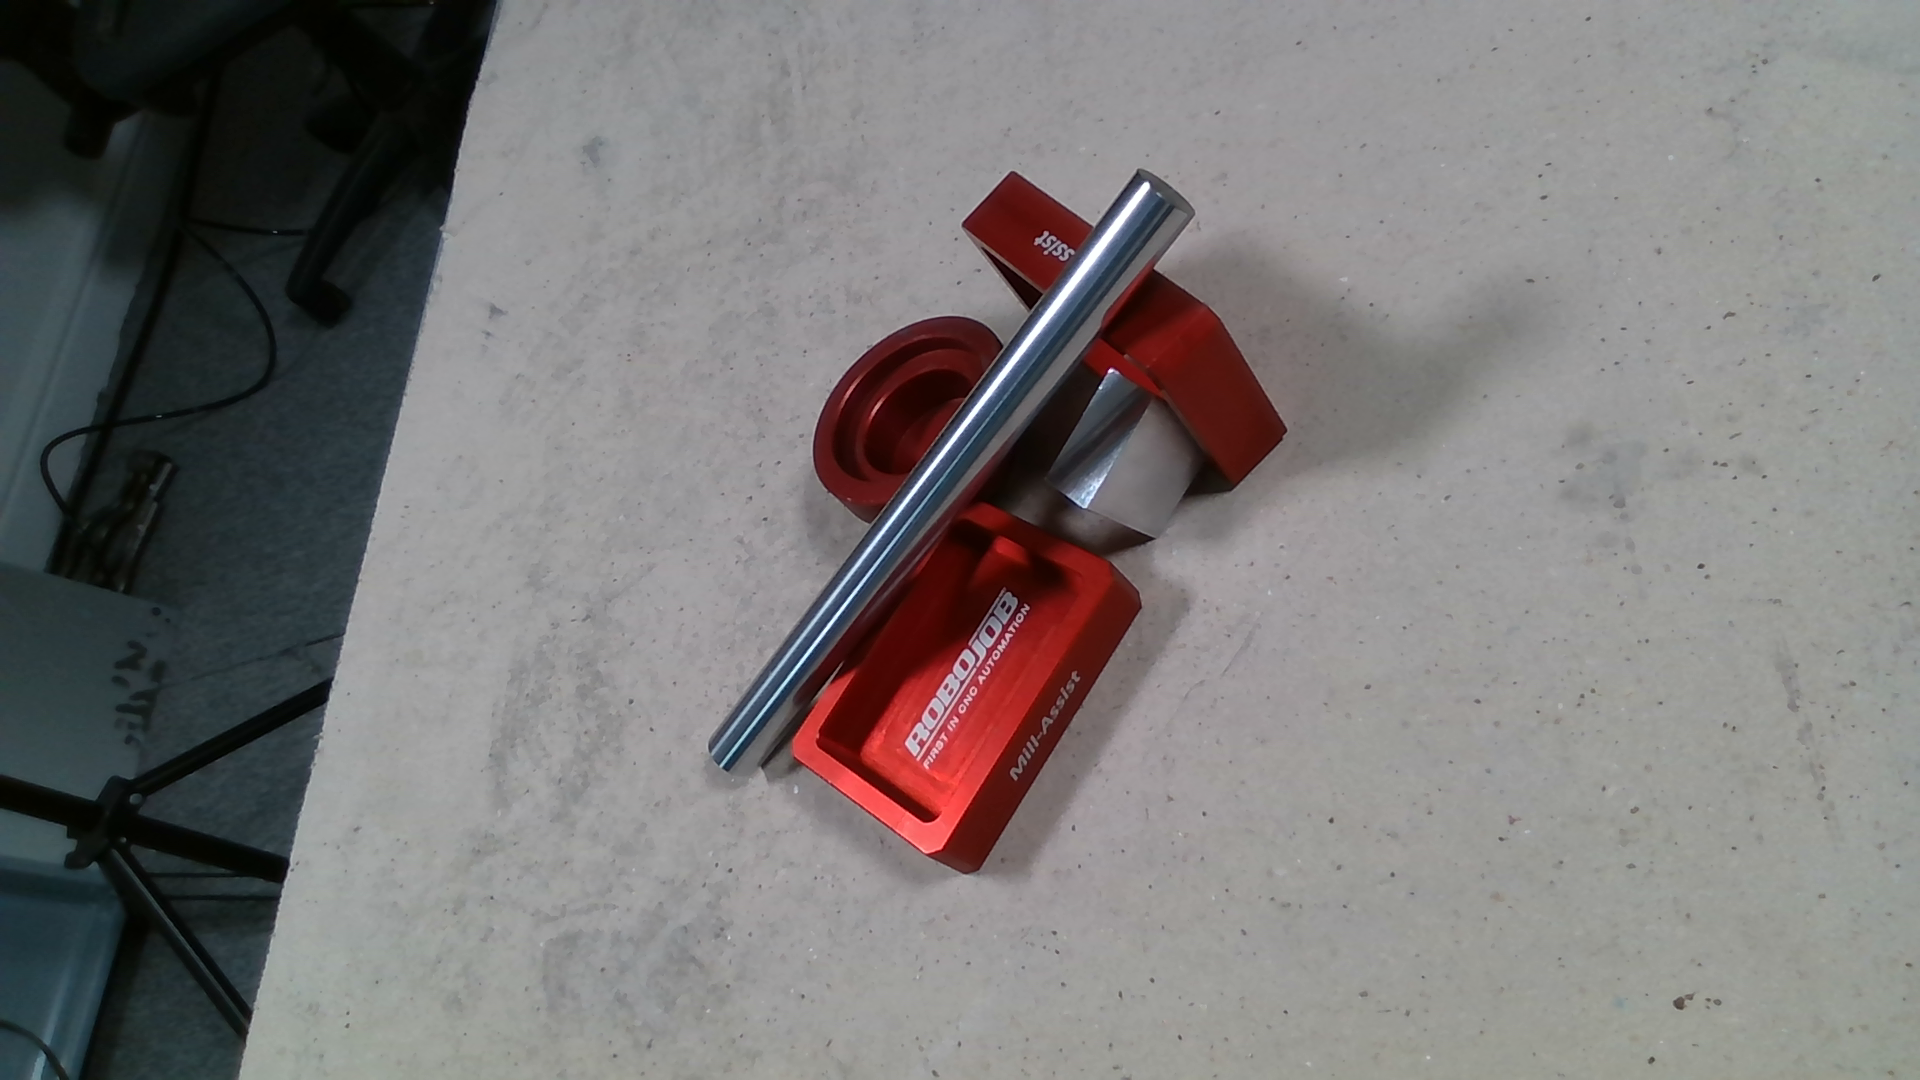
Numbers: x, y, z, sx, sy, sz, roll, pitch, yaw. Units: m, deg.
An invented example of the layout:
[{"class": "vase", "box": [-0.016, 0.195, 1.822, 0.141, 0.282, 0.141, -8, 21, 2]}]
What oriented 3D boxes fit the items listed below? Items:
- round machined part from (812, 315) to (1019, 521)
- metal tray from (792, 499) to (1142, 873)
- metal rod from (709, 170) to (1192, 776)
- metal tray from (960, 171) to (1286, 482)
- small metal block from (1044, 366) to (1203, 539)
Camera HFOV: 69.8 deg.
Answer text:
[{"class": "round machined part", "box": [-0.013, -0.047, 0.603, 0.098, 0.042, 0.098, -19, 50, 25]}, {"class": "metal tray", "box": [0.002, 0.054, 0.553, 0.090, 0.030, 0.130, 28, 82, 38]}, {"class": "metal rod", "box": [-0.015, -0.013, 0.533, 0.301, 0.025, 0.025, -52, 47, 27]}, {"class": "metal tray", "box": [0.064, -0.086, 0.549, 0.030, 0.090, 0.130, -46, 51, 3]}, {"class": "small metal block", "box": [0.068, -0.033, 0.539, 0.025, 0.050, 0.050, 40, 104, 41]}]
